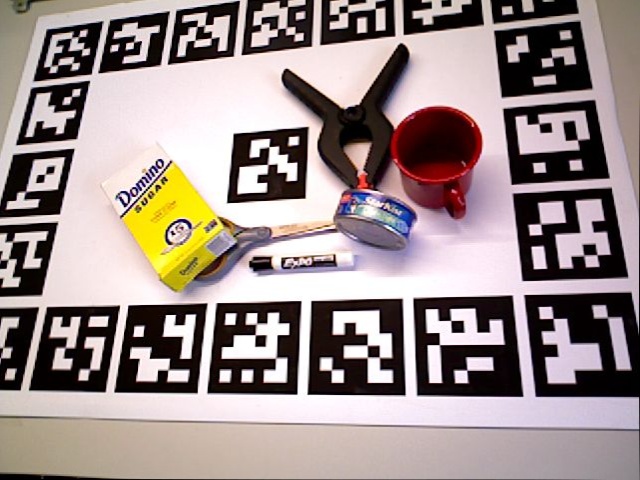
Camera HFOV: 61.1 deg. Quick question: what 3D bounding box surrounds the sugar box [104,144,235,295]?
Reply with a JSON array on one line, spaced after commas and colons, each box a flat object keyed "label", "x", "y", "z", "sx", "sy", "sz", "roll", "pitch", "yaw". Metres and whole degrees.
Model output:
[{"label": "sugar box", "x": -0.184, "y": -0.031, "z": 0.651, "sx": 0.092, "sy": 0.046, "sz": 0.175, "roll": -37, "pitch": 61, "yaw": -3}]

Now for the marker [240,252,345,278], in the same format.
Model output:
[{"label": "marker", "x": -0.033, "y": 0.029, "z": 0.614, "sx": 0.121, "sy": 0.020, "sz": 0.019, "roll": -6, "pitch": 69, "yaw": 11}]

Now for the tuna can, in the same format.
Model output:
[{"label": "tuna can", "x": 0.062, "y": -0.020, "z": 0.575, "sx": 0.086, "sy": 0.086, "sz": 0.033, "roll": 14, "pitch": 72, "yaw": 17}]

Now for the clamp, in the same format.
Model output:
[{"label": "clamp", "x": 0.042, "y": -0.140, "z": 0.662, "sx": 0.165, "sy": 0.037, "sz": 0.201, "roll": -12, "pitch": 69, "yaw": 8}]

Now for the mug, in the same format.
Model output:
[{"label": "mug", "x": 0.123, "y": -0.070, "z": 0.585, "sx": 0.093, "sy": 0.082, "sz": 0.116, "roll": -28, "pitch": 63, "yaw": 0}]

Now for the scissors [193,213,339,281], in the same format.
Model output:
[{"label": "scissors", "x": -0.077, "y": -0.008, "z": 0.636, "sx": 0.203, "sy": 0.016, "sz": 0.087, "roll": -12, "pitch": 64, "yaw": 6}]
